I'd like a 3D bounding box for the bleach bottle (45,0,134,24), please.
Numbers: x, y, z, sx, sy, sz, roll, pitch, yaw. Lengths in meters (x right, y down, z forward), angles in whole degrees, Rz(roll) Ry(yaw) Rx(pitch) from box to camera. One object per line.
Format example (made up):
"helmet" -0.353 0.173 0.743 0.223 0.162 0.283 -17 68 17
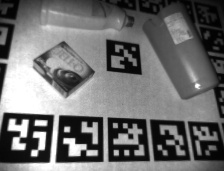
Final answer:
"bleach bottle" -0.054 -0.210 0.600 0.253 0.067 0.102 2 73 -19

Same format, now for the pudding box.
"pudding box" -0.109 -0.050 0.526 0.114 0.038 0.090 47 58 3

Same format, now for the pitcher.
"pitcher" 0.204 -0.098 0.619 0.191 0.132 0.242 -10 75 -56
